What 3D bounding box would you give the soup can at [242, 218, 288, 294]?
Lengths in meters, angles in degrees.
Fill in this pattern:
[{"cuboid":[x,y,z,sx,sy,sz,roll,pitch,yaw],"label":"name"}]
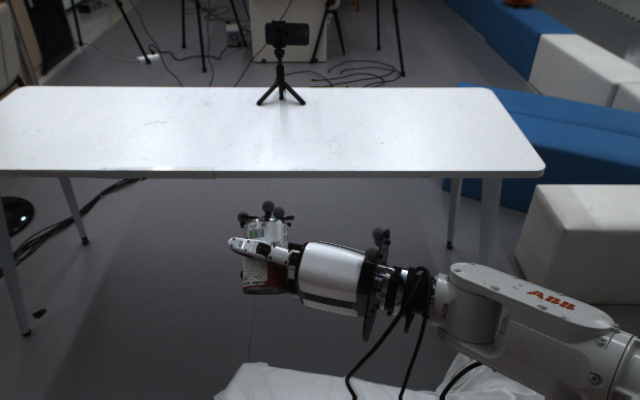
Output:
[{"cuboid":[-0.077,0.084,0.706,0.067,0.067,0.101,-1,71,-5],"label":"soup can"}]
